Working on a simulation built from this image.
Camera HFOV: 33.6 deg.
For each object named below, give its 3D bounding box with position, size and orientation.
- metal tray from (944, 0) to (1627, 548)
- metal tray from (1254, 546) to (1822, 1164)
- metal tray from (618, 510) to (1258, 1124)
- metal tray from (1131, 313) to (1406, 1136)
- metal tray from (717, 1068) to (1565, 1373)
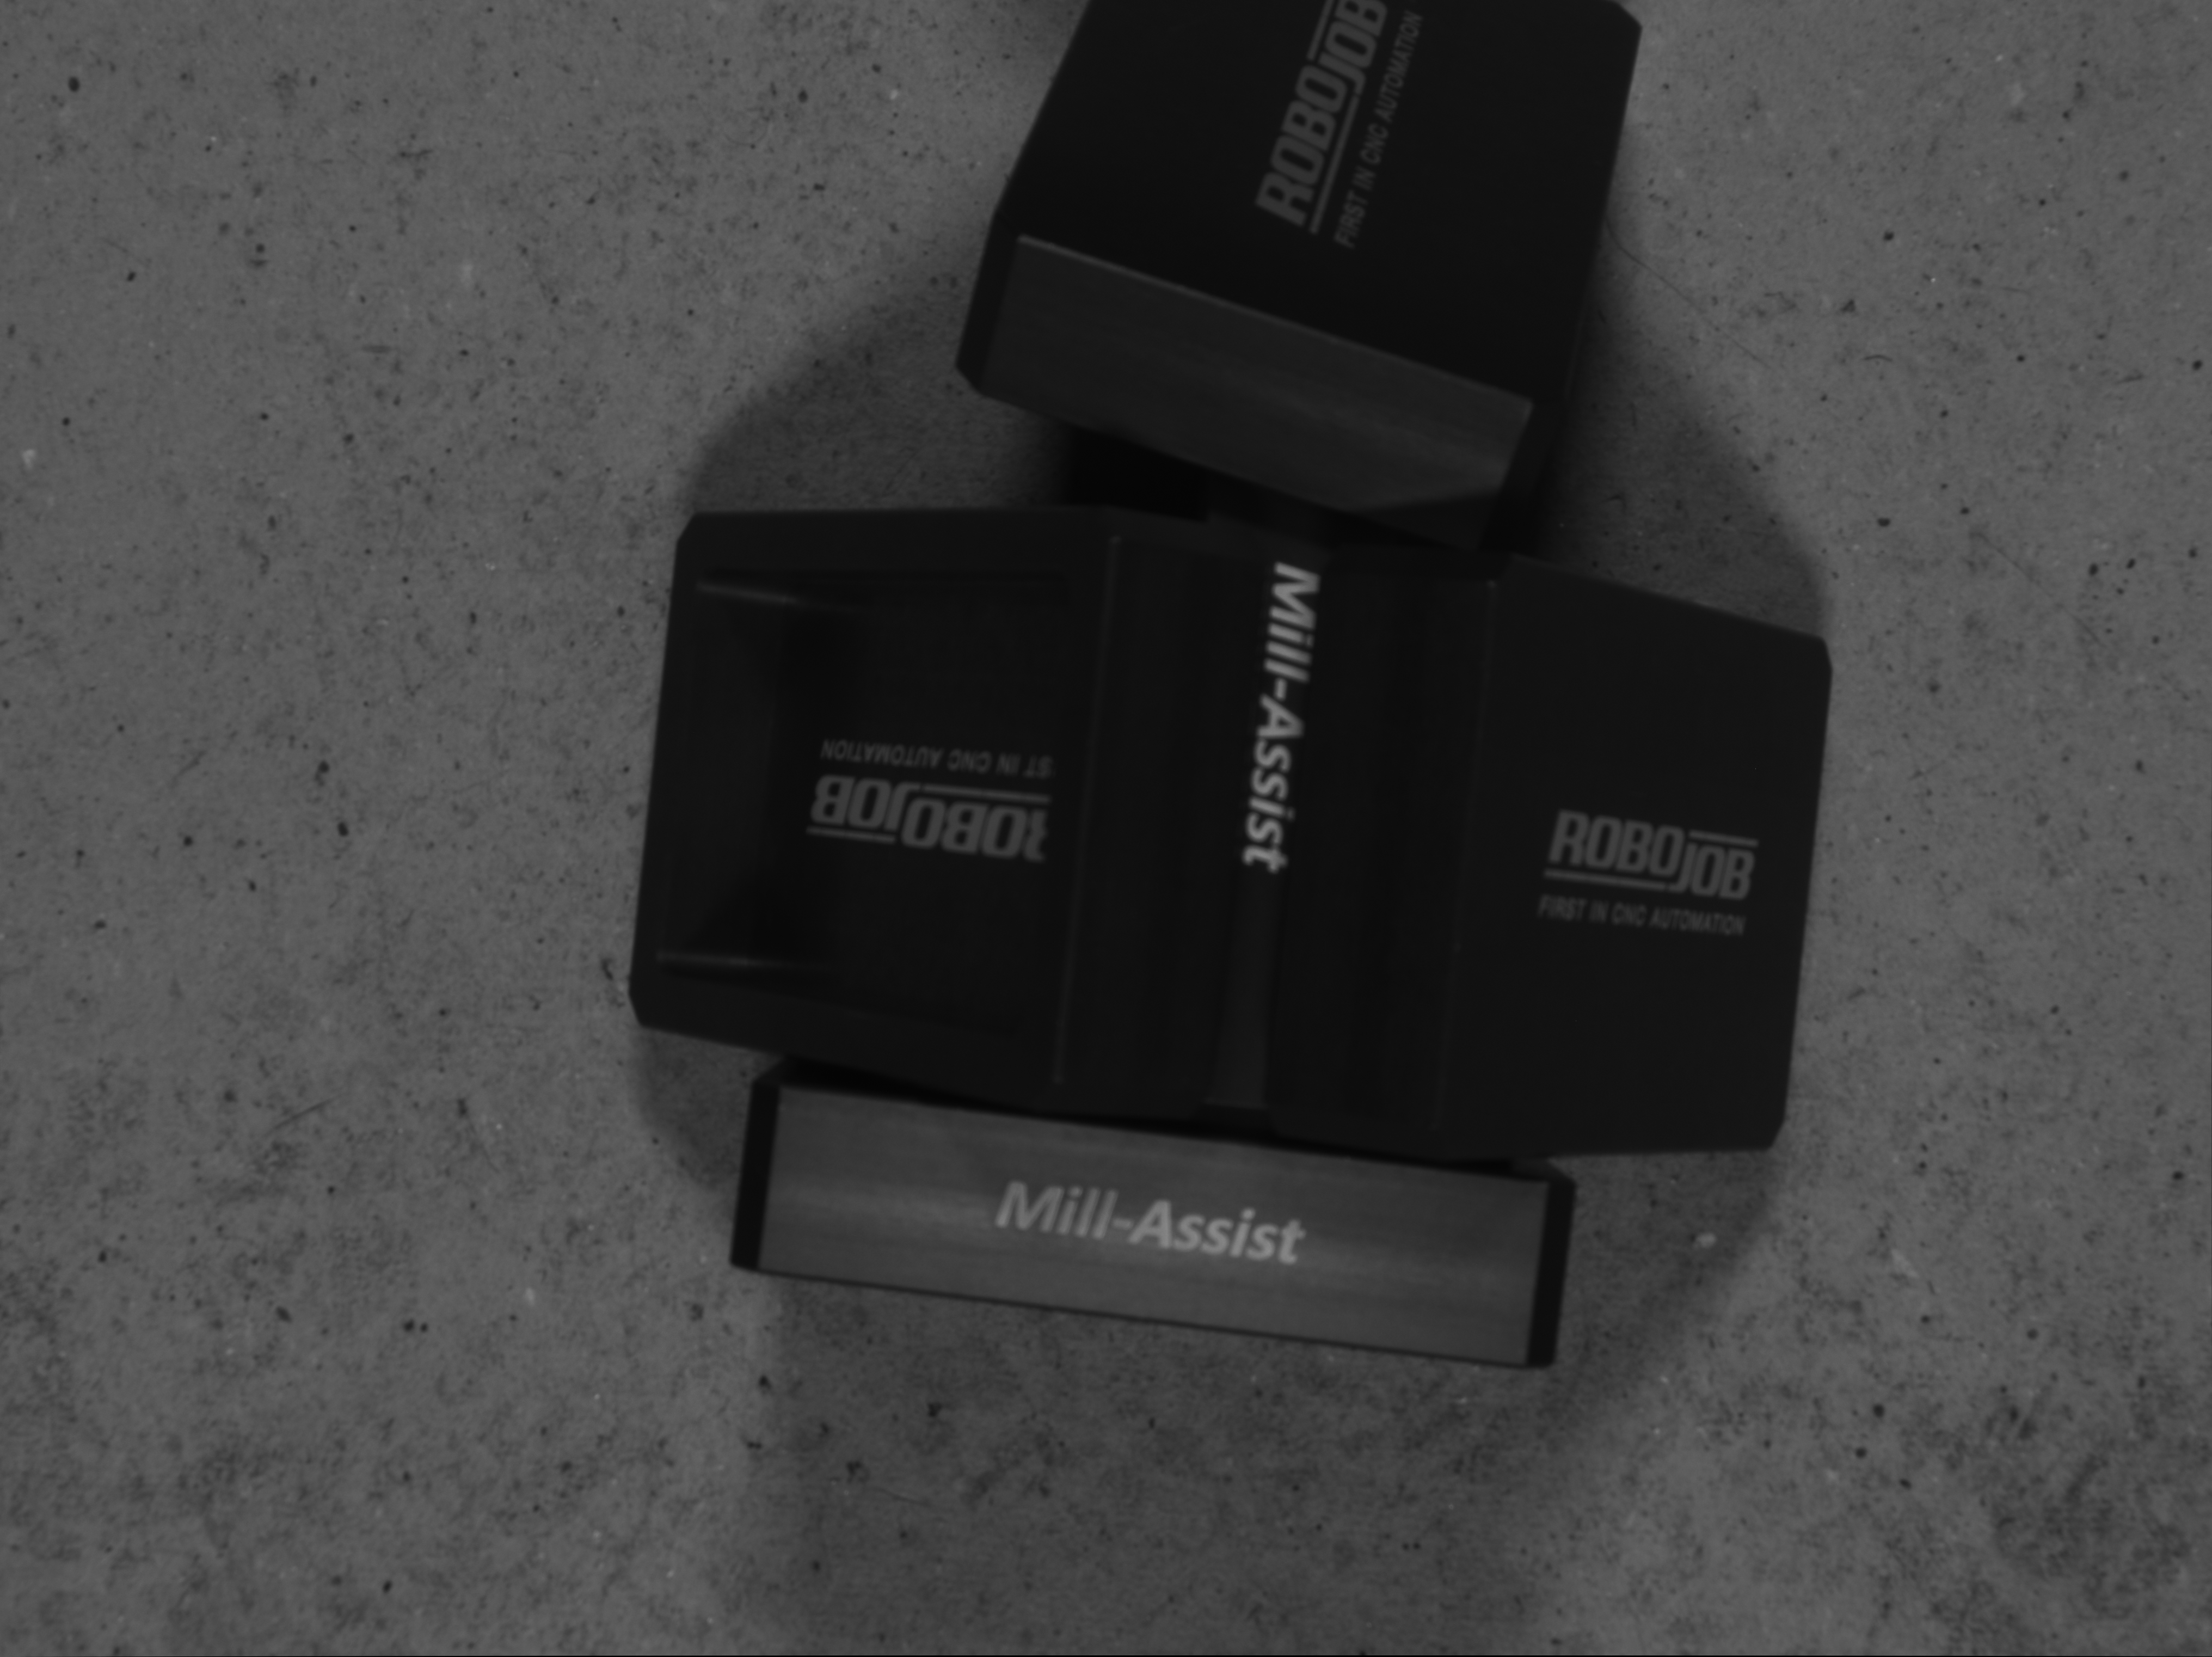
[{"bbox_3d":[0.033,-0.106,0.600,0.090,0.130,0.030,18,131,0],"label":"metal tray"},{"bbox_3d":[0.074,0.007,0.596,0.030,0.130,0.090,6,90,33],"label":"metal tray"},{"bbox_3d":[-0.031,-0.005,0.596,0.030,0.130,0.090,6,90,-37],"label":"metal tray"},{"bbox_3d":[0.025,-0.017,0.613,0.030,0.090,0.130,7,90,0],"label":"metal tray"},{"bbox_3d":[0.005,0.062,0.612,0.130,0.090,0.030,7,90,0],"label":"metal tray"}]
